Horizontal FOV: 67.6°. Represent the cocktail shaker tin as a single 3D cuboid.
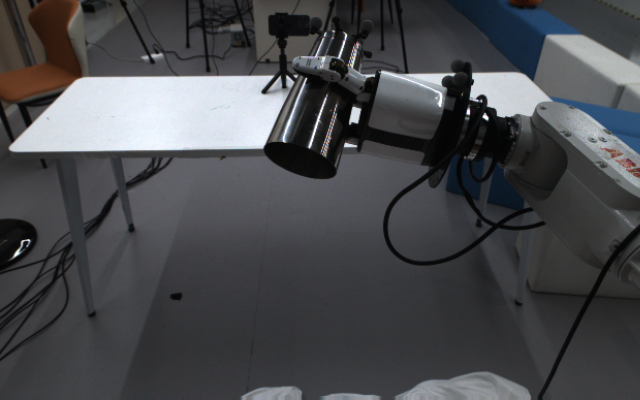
[{"bbox_3d":[-0.001,-0.123,0.602,0.093,0.093,0.170,13,70,15],"label":"cocktail shaker tin"}]
